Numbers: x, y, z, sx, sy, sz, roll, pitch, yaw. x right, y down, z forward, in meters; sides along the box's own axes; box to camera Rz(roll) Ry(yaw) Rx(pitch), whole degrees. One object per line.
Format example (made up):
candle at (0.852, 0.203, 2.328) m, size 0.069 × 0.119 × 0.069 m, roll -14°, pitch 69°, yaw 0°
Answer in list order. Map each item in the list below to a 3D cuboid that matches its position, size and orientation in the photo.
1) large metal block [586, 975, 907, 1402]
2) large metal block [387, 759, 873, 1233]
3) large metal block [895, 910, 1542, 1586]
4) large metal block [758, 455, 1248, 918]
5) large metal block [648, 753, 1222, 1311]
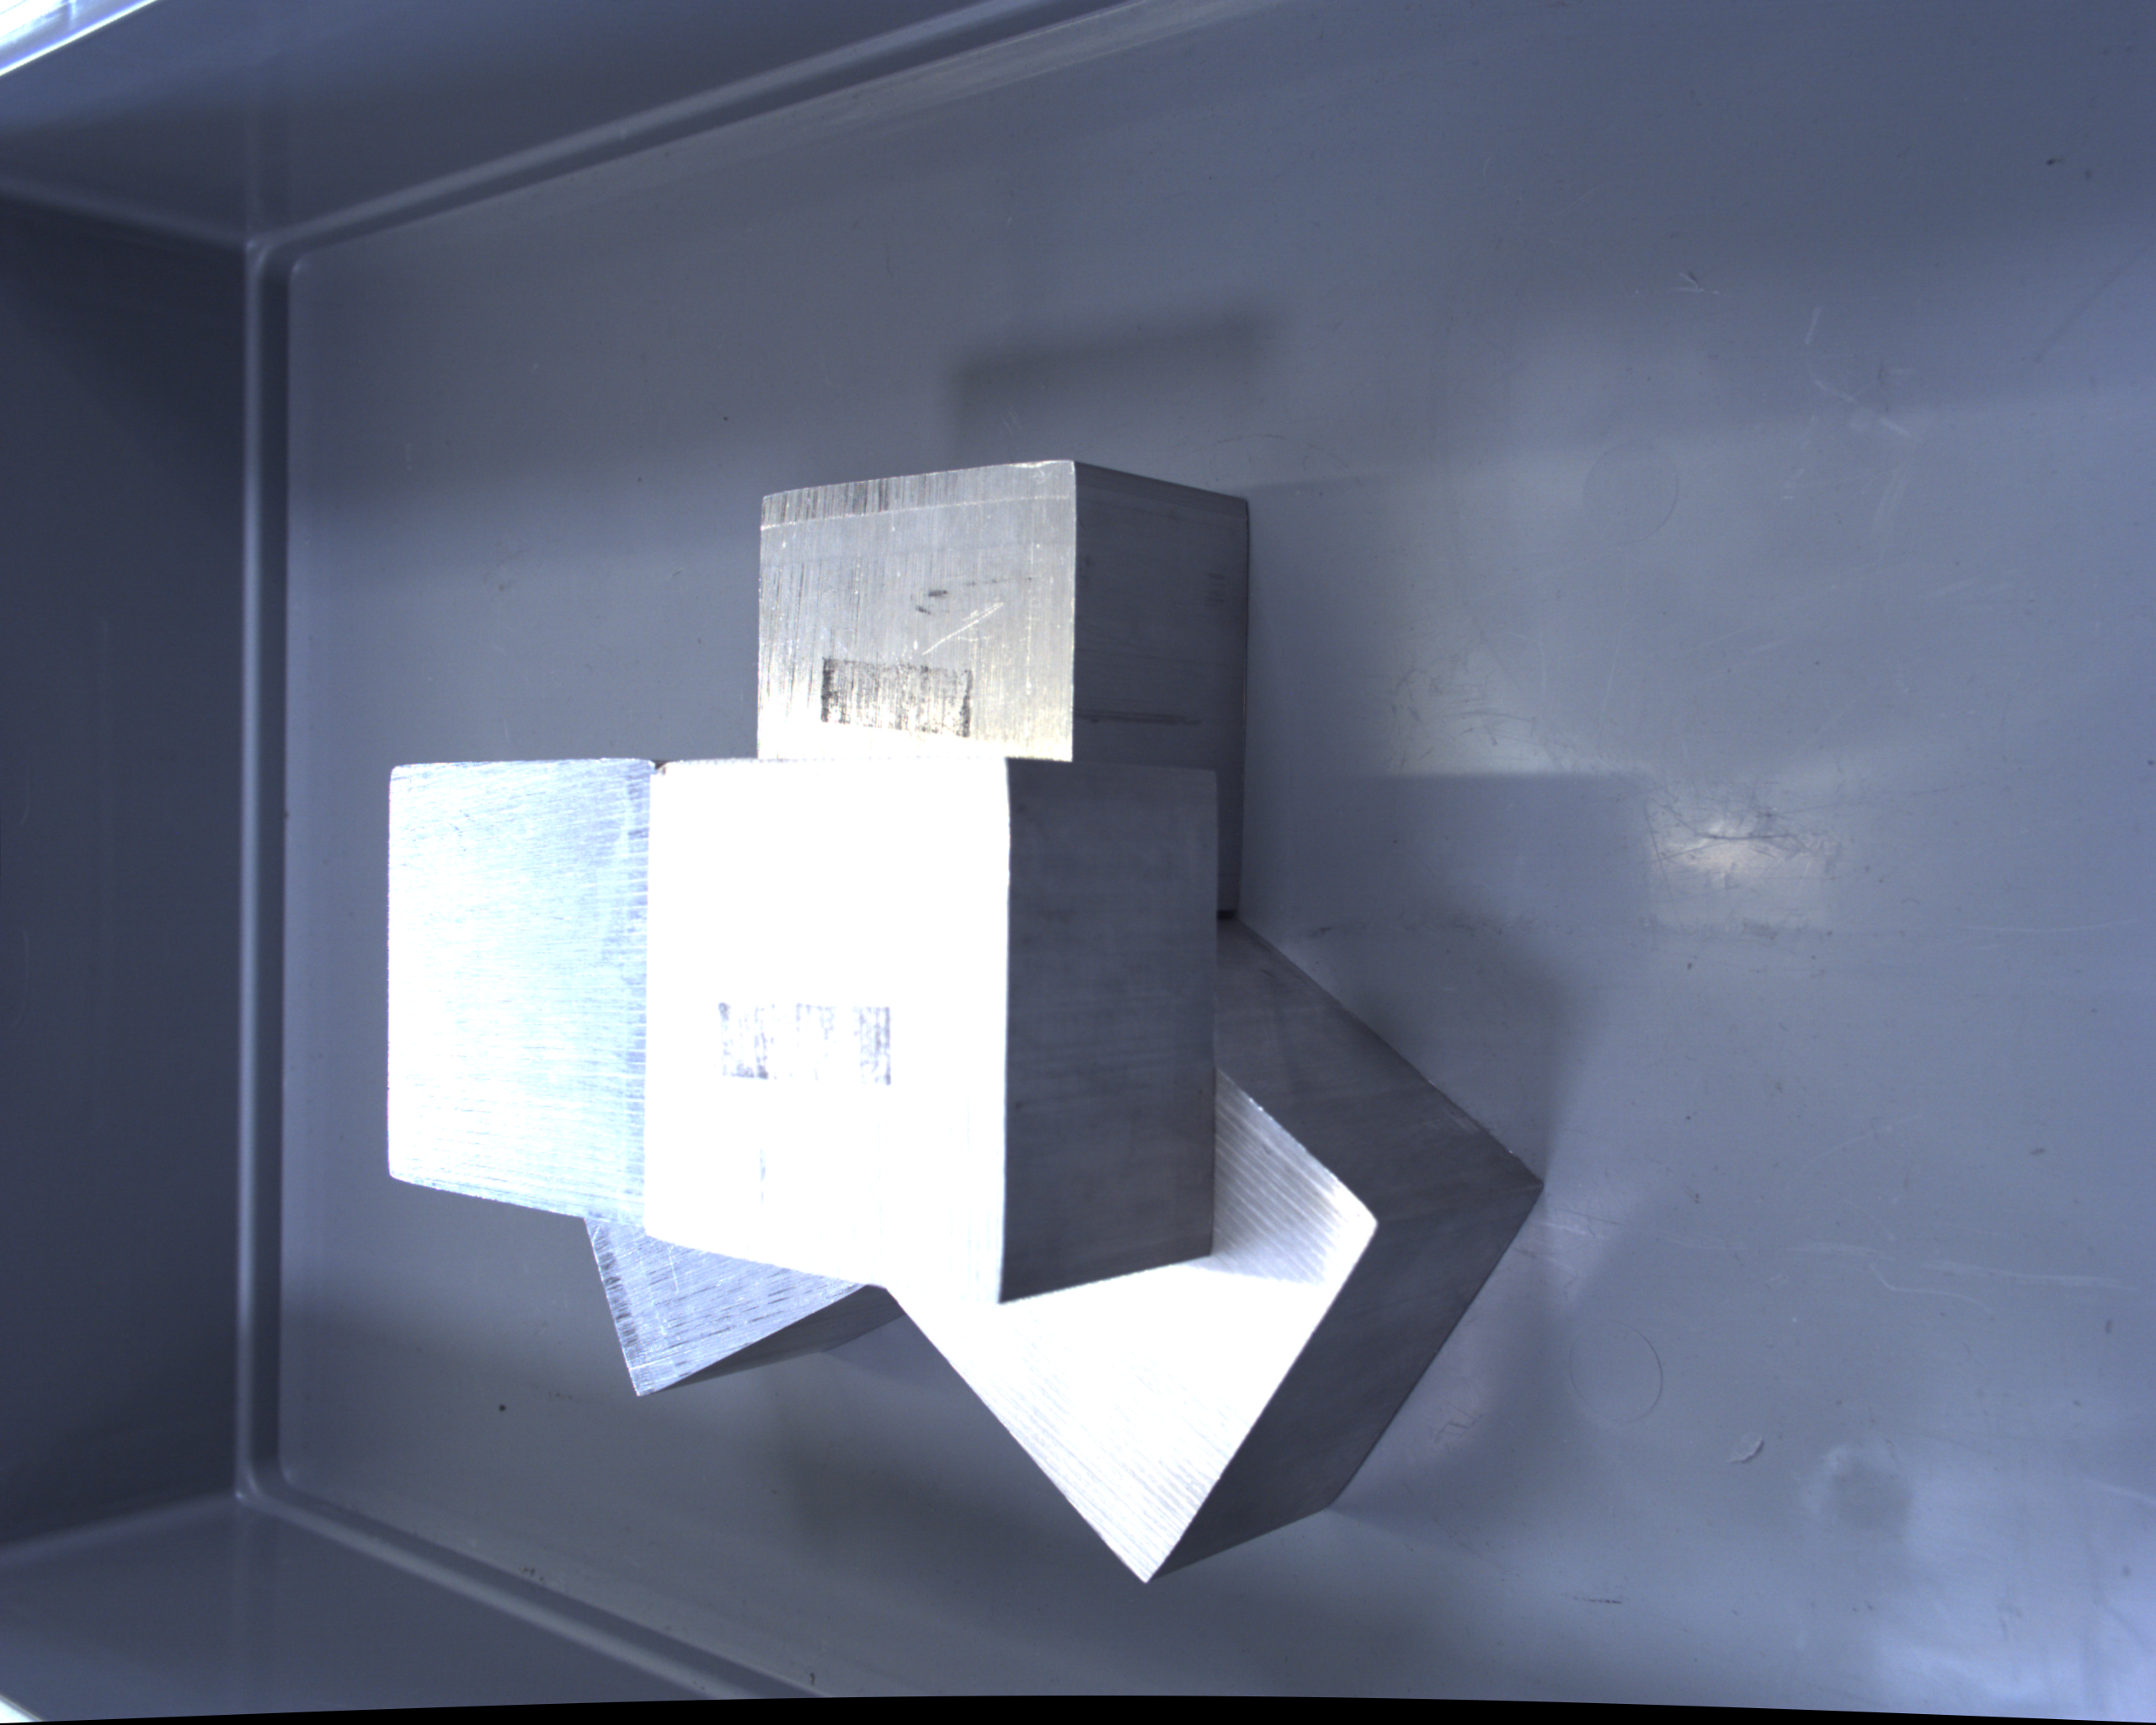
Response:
large metal block at (-0.061, 0.058, 0.439) m, size 0.080 × 0.050 × 0.080 m, roll -32°, pitch 70°, yaw 35°
large metal block at (-0.085, 0.022, 0.394) m, size 0.080 × 0.050 × 0.080 m, roll 1°, pitch 91°, yaw 40°
large metal block at (0.020, 0.064, 0.371) m, size 0.080 × 0.050 × 0.080 m, roll 42°, pitch 115°, yaw 32°
large metal block at (-0.016, -0.031, 0.402) m, size 0.080 × 0.050 × 0.079 m, roll 2°, pitch 91°, yaw 40°
large metal block at (-0.024, 0.023, 0.342) m, size 0.080 × 0.050 × 0.080 m, roll 1°, pitch 91°, yaw 40°
